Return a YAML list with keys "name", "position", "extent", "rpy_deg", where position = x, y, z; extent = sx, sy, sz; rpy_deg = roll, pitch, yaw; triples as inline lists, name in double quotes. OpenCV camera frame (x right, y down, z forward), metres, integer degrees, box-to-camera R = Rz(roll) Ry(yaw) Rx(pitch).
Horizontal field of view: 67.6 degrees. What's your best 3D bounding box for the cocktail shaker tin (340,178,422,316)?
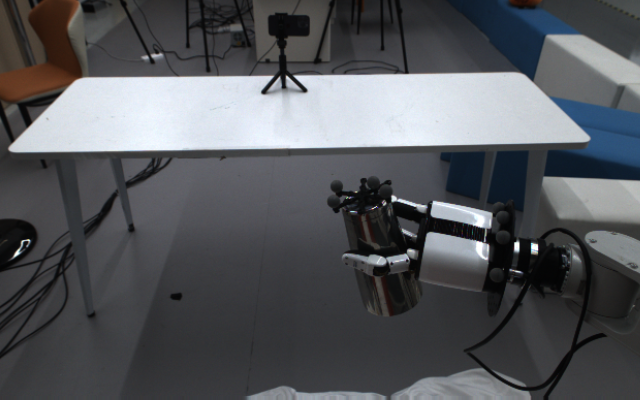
- name: "cocktail shaker tin"
  position: [0.084, 0.070, 0.687]
  extent: [0.093, 0.170, 0.093]
  rpy_deg: [-15, 29, 8]
